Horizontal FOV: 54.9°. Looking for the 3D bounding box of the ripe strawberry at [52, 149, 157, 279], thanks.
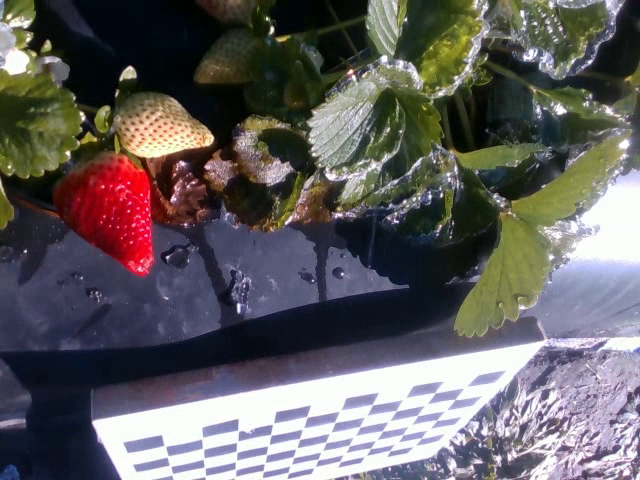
[{"bbox_3d":[-0.080,-0.008,0.240,0.040,0.053,0.042,-30,-8,14],"label":"ripe strawberry"}]
